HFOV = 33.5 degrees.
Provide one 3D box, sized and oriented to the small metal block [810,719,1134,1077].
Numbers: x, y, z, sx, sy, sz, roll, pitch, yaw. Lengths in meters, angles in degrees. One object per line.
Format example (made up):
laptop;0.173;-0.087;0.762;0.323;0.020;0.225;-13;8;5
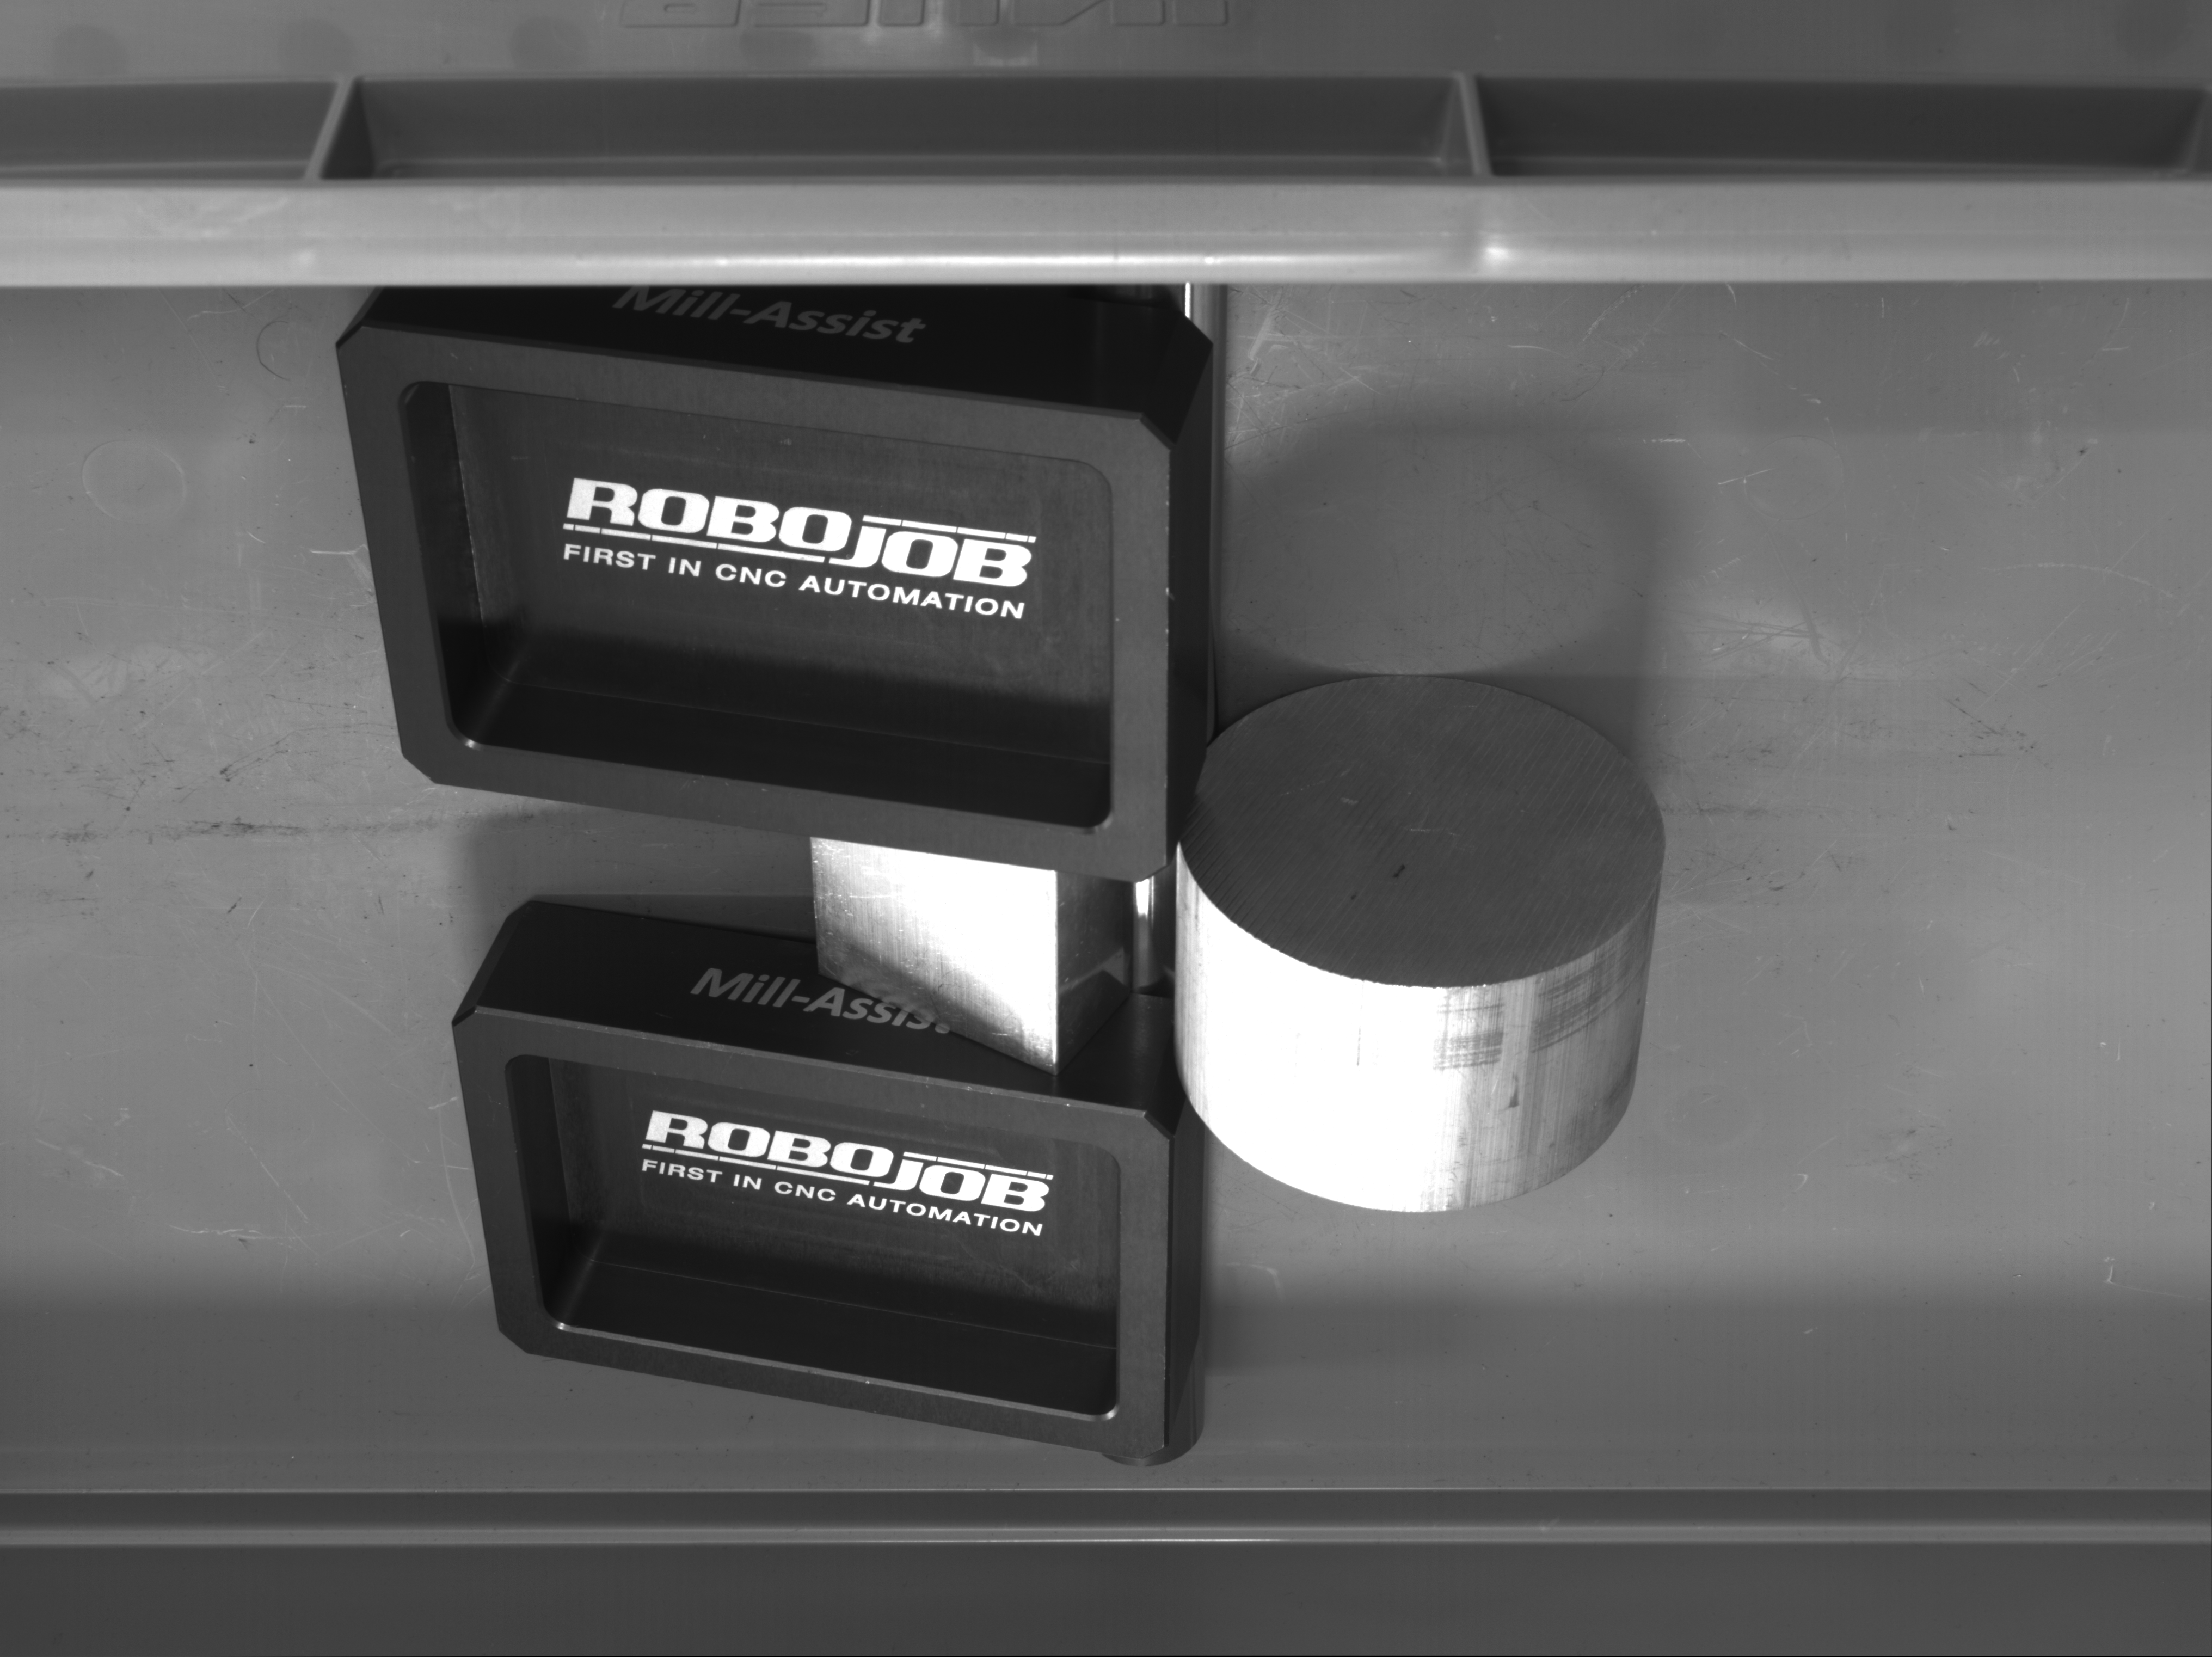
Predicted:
small metal block;-0.023;0.008;0.631;0.050;0.025;0.050;22;134;23

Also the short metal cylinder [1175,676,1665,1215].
short metal cylinder;0.051;0.019;0.618;0.080;0.080;0.050;0;130;0

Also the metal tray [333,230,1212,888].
metal tray;-0.050;-0.042;0.581;0.130;0.030;0.090;8;131;10

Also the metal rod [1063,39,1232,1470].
metal rod;0.006;0.004;0.641;0.025;0.025;0.300;0;130;0

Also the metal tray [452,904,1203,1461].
metal tray;-0.049;0.065;0.671;0.130;0.030;0.090;8;131;9
